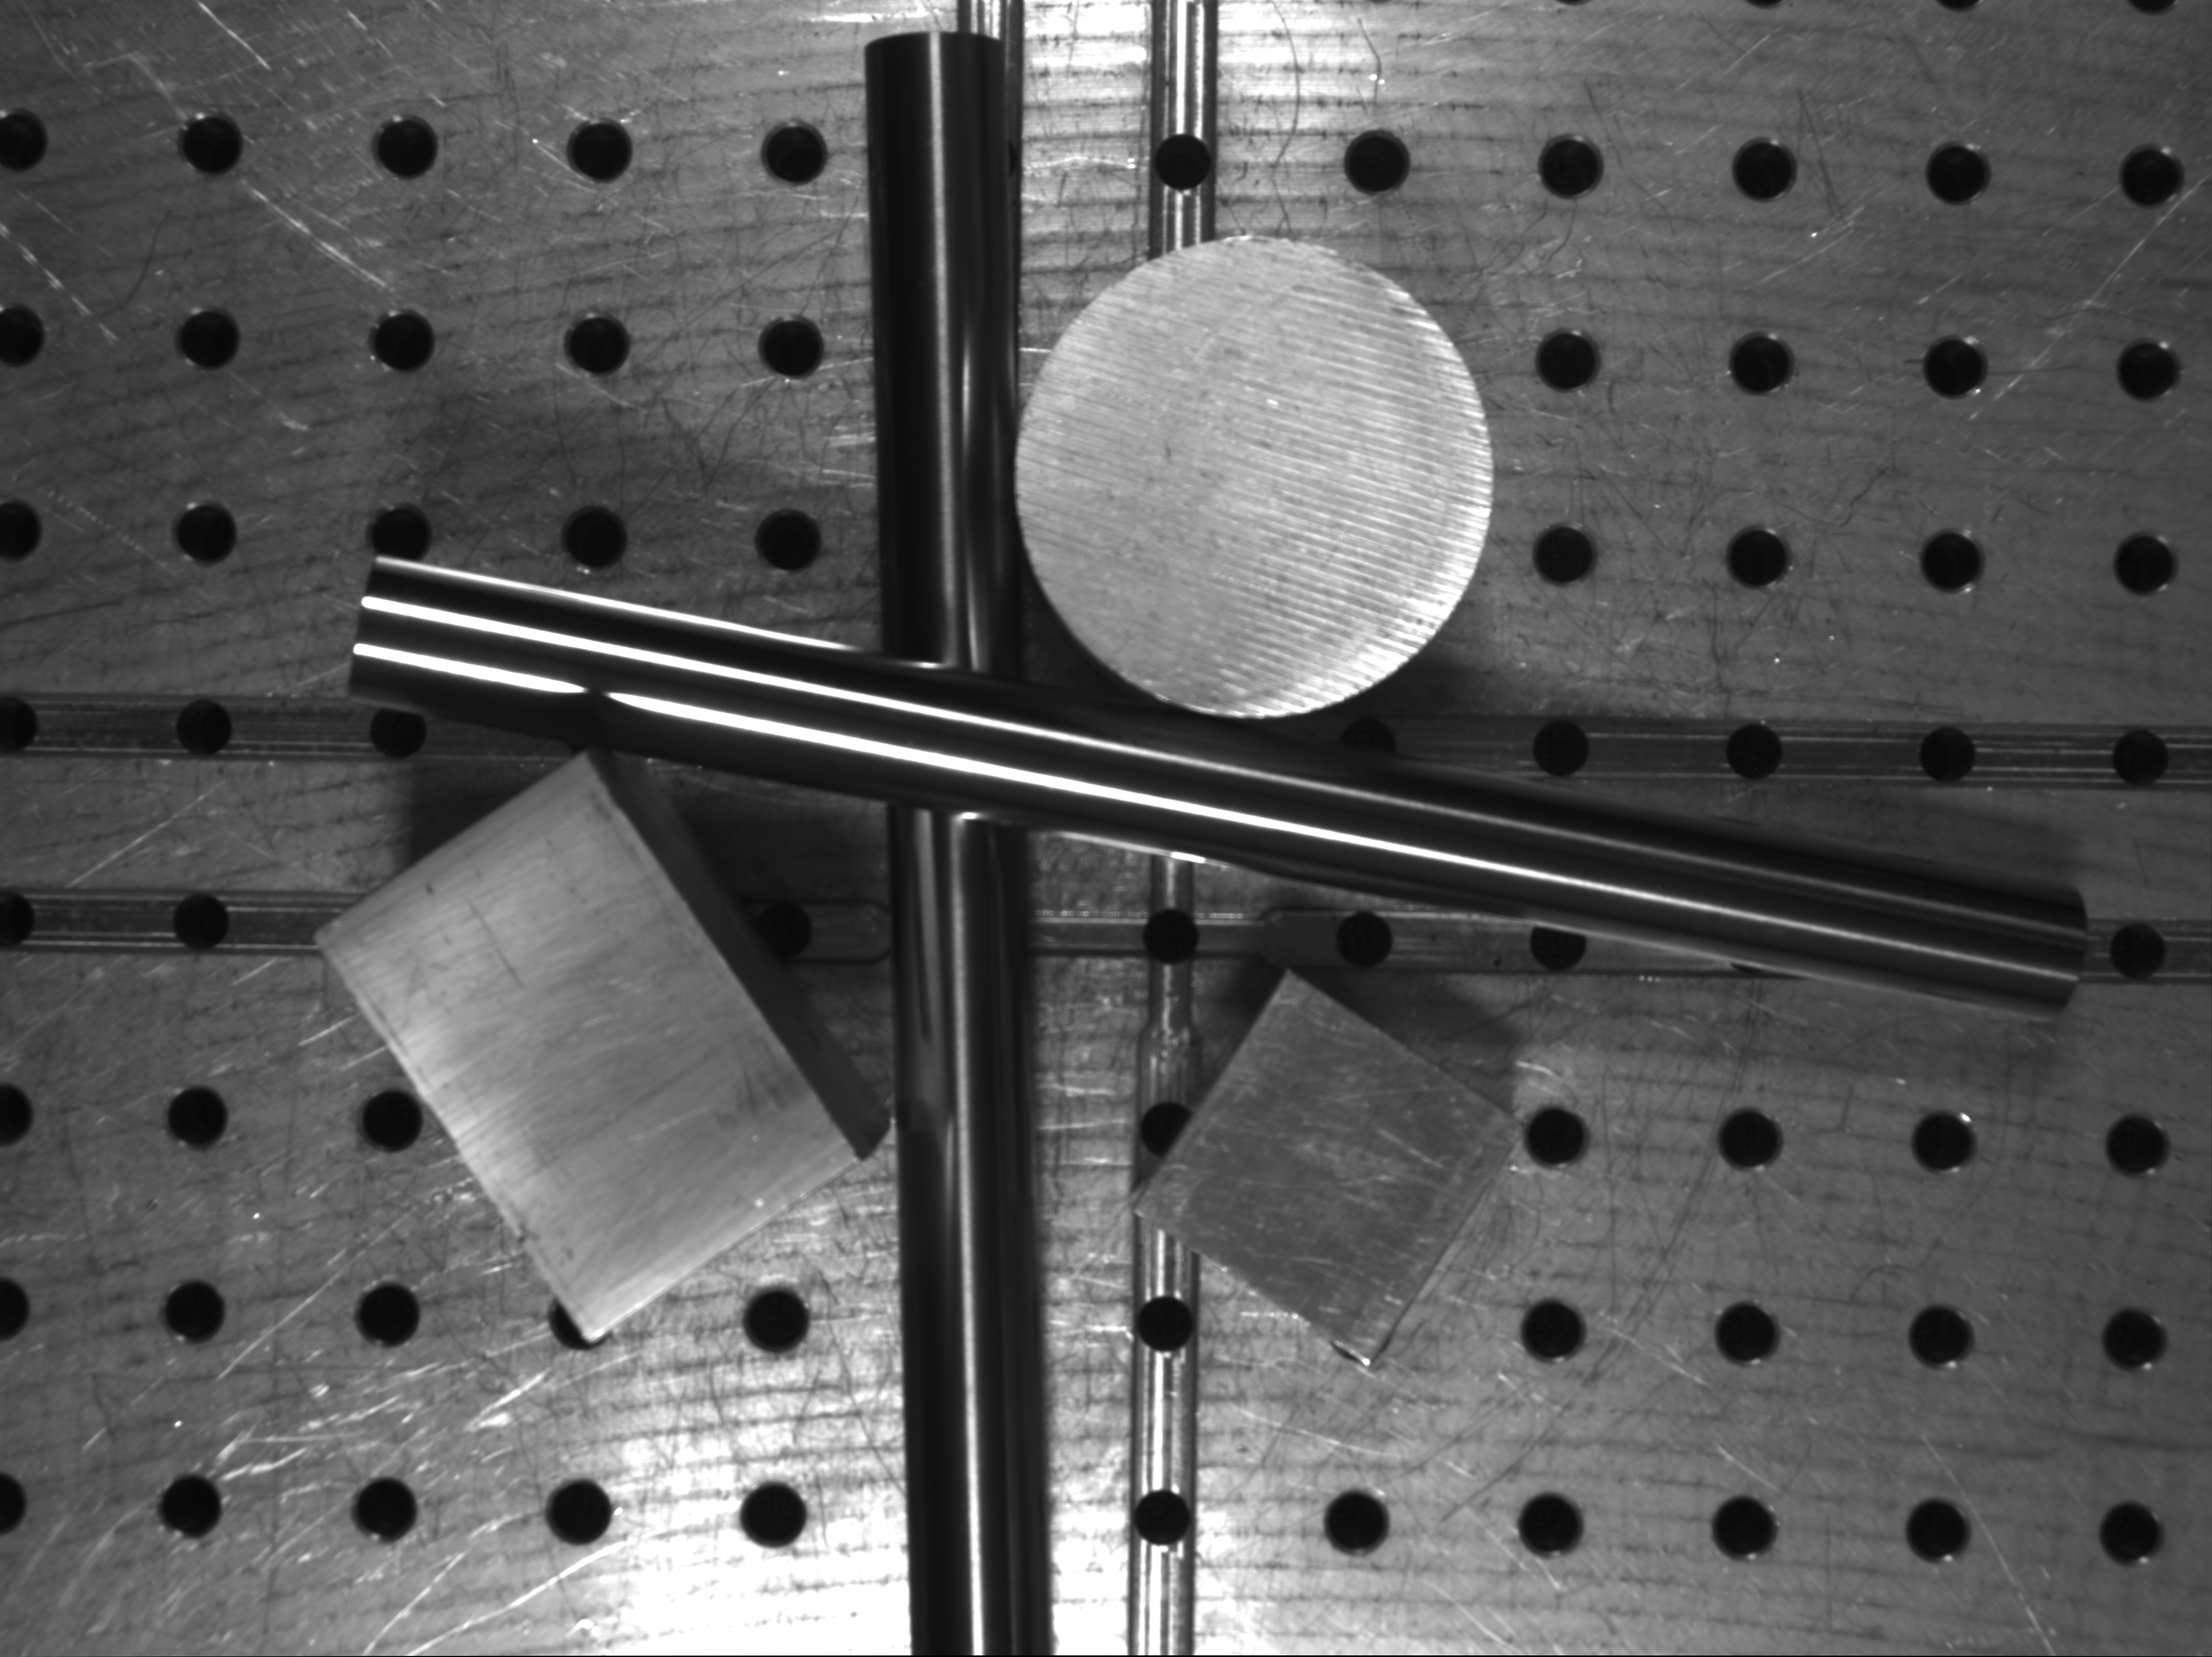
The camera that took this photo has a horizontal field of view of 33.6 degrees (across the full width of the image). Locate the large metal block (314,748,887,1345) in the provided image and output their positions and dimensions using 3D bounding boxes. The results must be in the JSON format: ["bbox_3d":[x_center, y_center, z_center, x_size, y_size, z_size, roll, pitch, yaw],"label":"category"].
[{"bbox_3d":[-0.082,0.035,0.618,0.050,0.080,0.080,-35,90,0],"label":"large metal block"}]

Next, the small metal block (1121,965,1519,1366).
[{"bbox_3d":[0.037,0.059,0.649,0.050,0.025,0.050,33,90,0],"label":"small metal block"}]

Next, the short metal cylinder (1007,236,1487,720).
[{"bbox_3d":[0.023,-0.059,0.635,0.080,0.050,0.080,0,90,0],"label":"short metal cylinder"}]

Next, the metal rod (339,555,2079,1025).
[{"bbox_3d":[0.021,-0.005,0.629,0.300,0.025,0.025,11,90,-8],"label":"metal rod"}]

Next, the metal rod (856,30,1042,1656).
[{"bbox_3d":[-0.028,0.011,0.647,0.025,0.025,0.300,-2,90,0],"label":"metal rod"}]
